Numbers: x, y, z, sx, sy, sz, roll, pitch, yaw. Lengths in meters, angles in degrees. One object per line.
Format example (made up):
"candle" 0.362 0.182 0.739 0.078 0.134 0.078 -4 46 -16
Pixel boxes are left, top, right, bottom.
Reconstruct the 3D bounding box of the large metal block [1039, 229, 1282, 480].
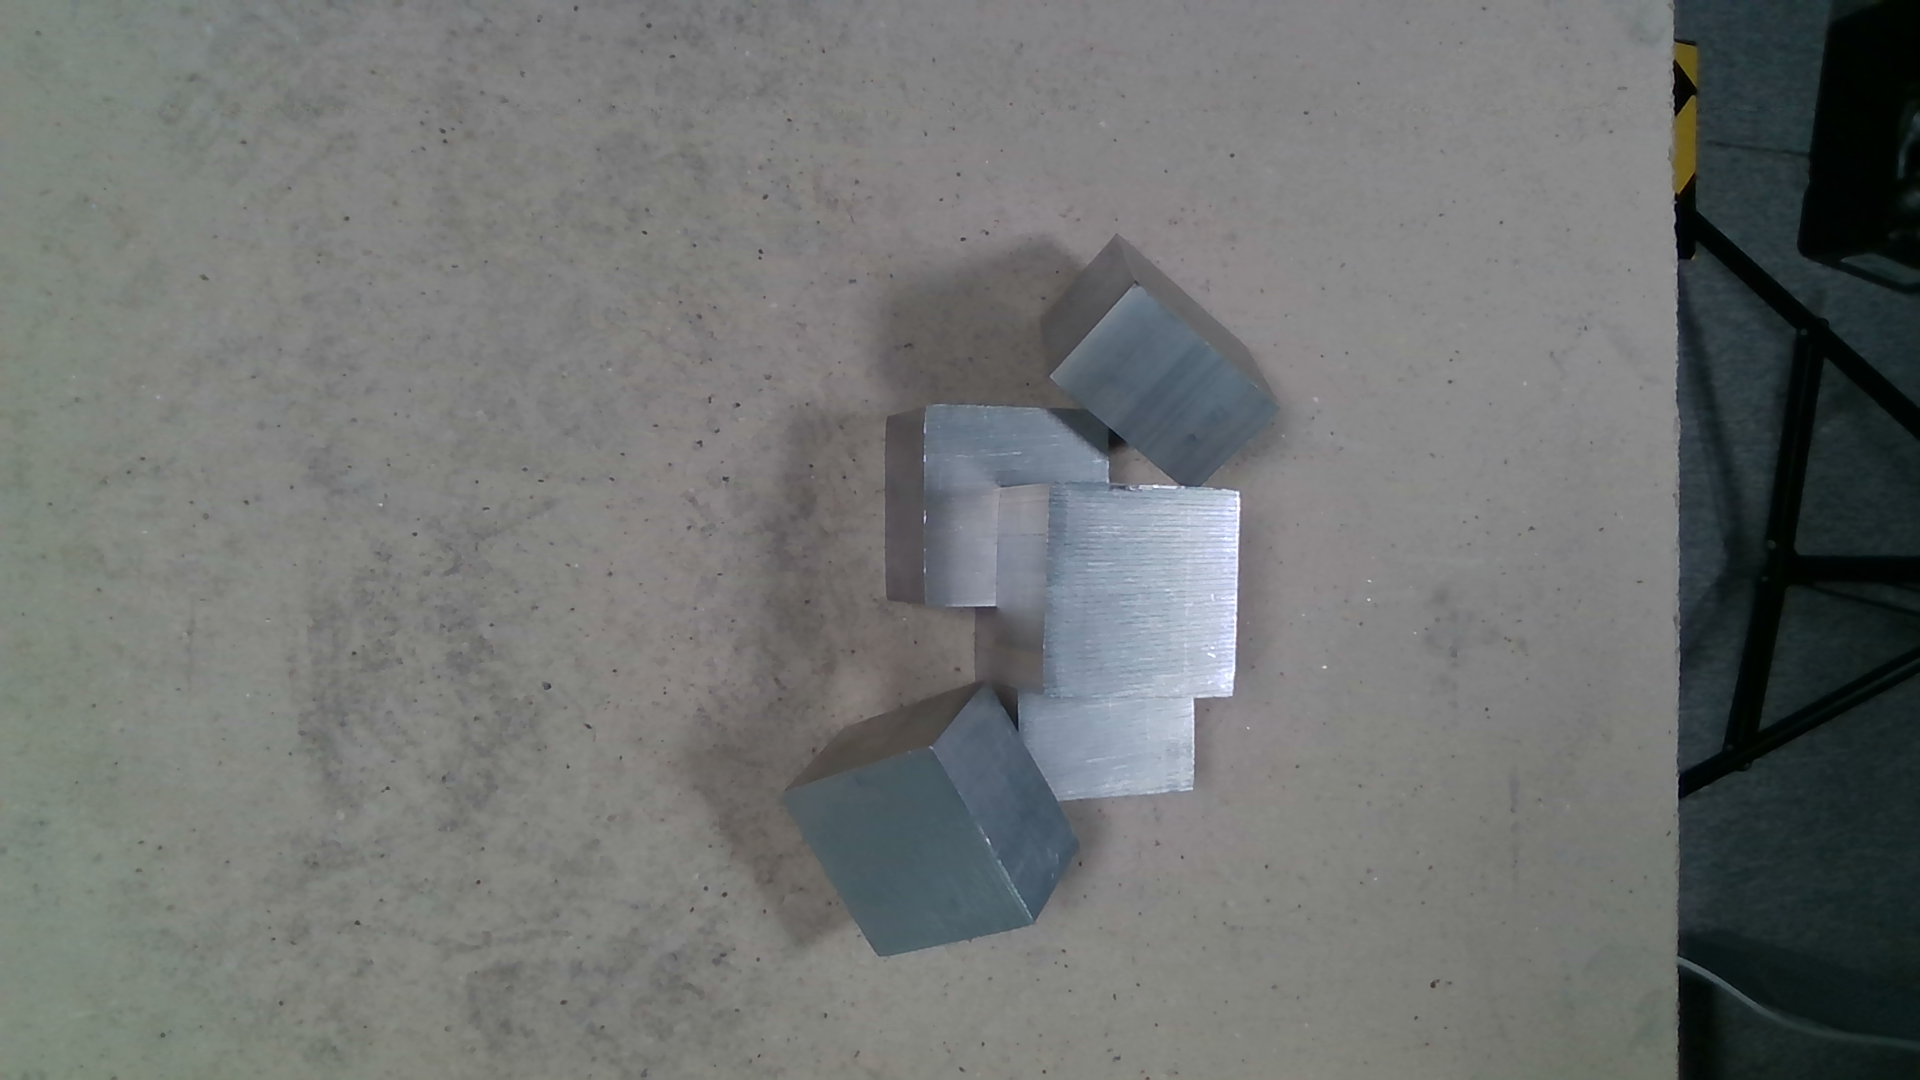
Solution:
"large metal block" 0.081 -0.076 0.579 0.080 0.080 0.050 37 111 -16

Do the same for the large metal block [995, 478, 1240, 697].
"large metal block" 0.060 0.019 0.540 0.080 0.050 0.080 2 89 -20

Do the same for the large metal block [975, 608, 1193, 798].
"large metal block" 0.053 0.066 0.593 0.080 0.050 0.080 0 90 -20

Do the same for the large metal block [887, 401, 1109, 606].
"large metal block" 0.015 -0.014 0.576 0.080 0.050 0.080 0 90 -20

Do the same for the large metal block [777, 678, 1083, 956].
"large metal block" -0.011 0.111 0.546 0.080 0.080 0.050 60 34 -11
